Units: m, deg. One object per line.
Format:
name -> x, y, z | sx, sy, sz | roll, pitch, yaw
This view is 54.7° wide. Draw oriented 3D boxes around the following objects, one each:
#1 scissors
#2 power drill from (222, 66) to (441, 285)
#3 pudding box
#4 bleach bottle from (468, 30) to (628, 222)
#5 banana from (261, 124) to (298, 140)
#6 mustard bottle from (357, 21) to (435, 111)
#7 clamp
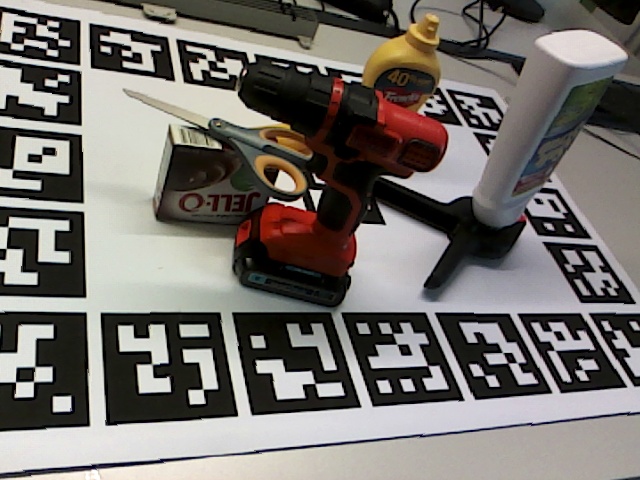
scissors -> -0.097, -0.115, 0.582 | 0.202, 0.016, 0.088 | 25, 45, -10
power drill -> -0.009, -0.052, 0.545 | 0.184, 0.187, 0.057 | 11, 37, -14
pudding box -> -0.110, -0.067, 0.623 | 0.113, 0.090, 0.039 | 7, 39, -23
bleach bottle -> 0.239, -0.108, 0.708 | 0.102, 0.250, 0.068 | -18, 54, -31
banana -> -0.034, -0.160, 0.787 | 0.074, 0.039, 0.196 | 25, 39, 23
mustard bottle -> 0.089, -0.187, 0.781 | 0.096, 0.191, 0.058 | 15, 43, -16
clamp -> 0.174, -0.029, 0.752 | 0.201, 0.037, 0.166 | -1, 51, -31
